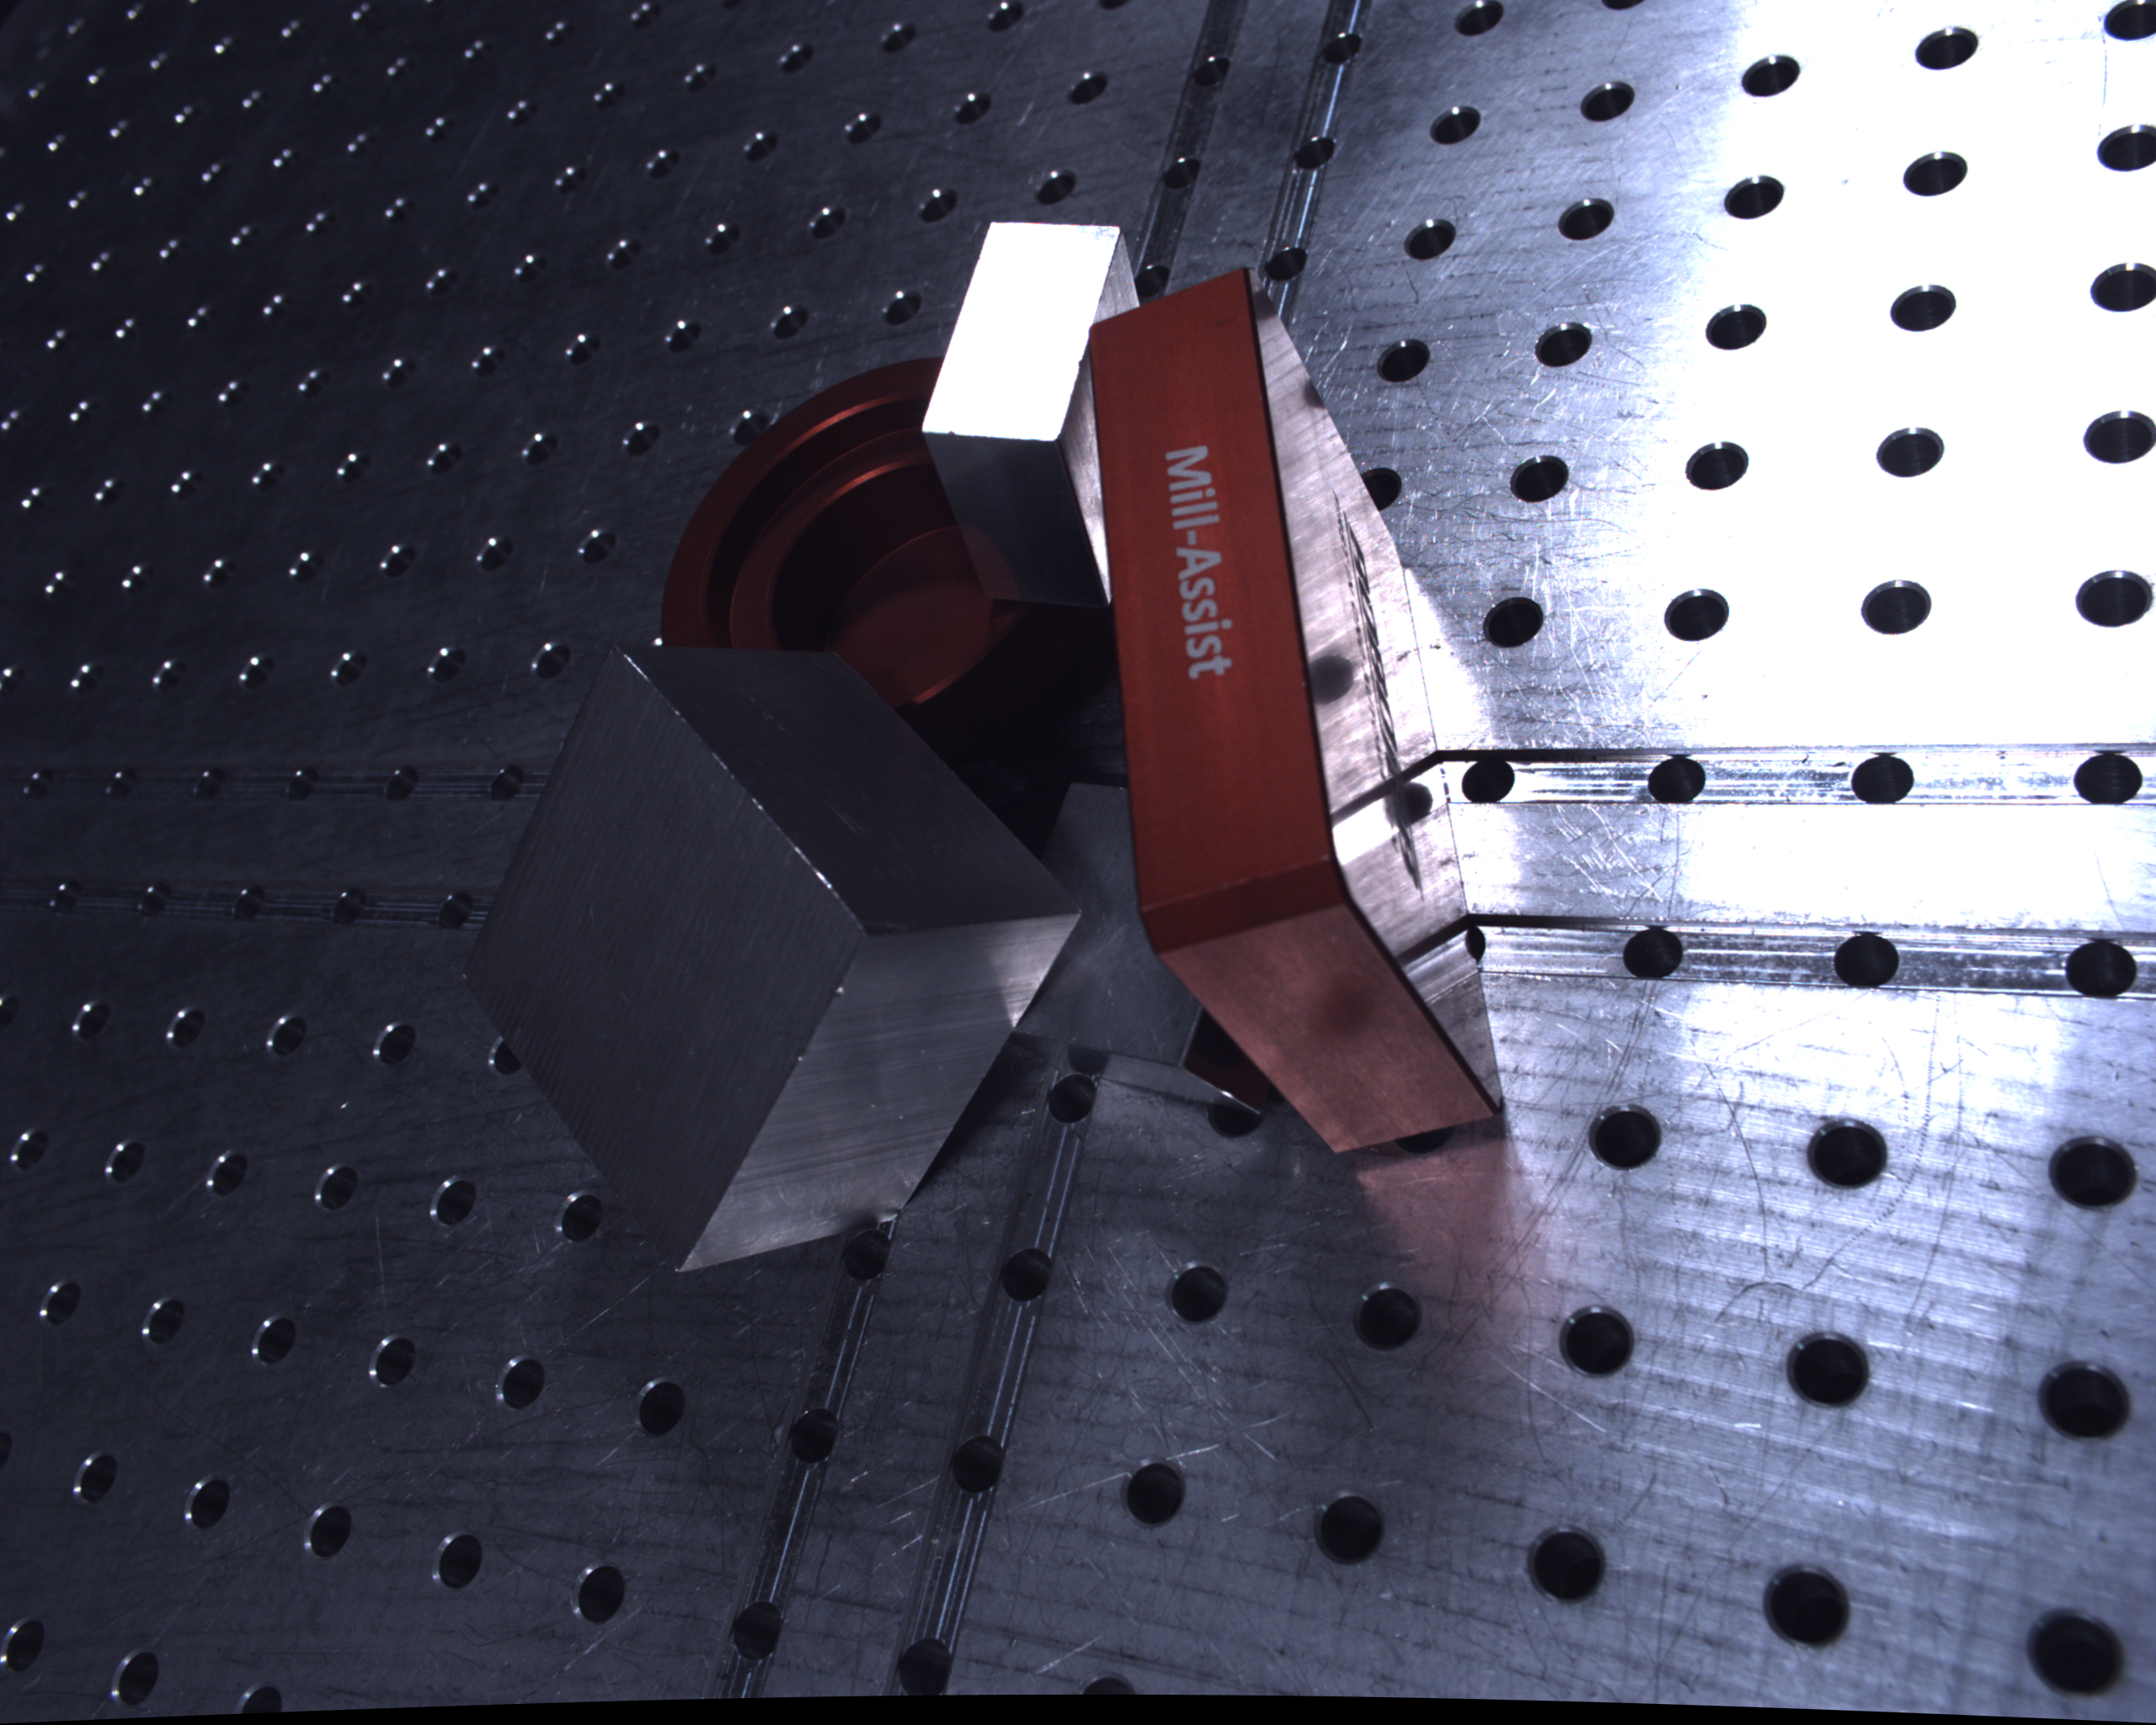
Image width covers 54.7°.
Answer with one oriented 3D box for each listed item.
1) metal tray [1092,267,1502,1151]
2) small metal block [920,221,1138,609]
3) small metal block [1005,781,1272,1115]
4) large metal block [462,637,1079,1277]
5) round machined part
[{"bbox_3d":[0.038,-0.027,0.362,0.030,0.090,0.130,-16,55,19],"label":"metal tray"},{"bbox_3d":[-0.005,-0.083,0.392,0.025,0.050,0.050,7,63,16],"label":"small metal block"},{"bbox_3d":[0.016,0.015,0.383,0.050,0.025,0.050,8,69,43],"label":"small metal block"},{"bbox_3d":[-0.059,0.015,0.383,0.080,0.050,0.079,46,120,28],"label":"large metal block"},{"bbox_3d":[-0.037,-0.058,0.450,0.098,0.042,0.098,-13,56,20],"label":"round machined part"}]
